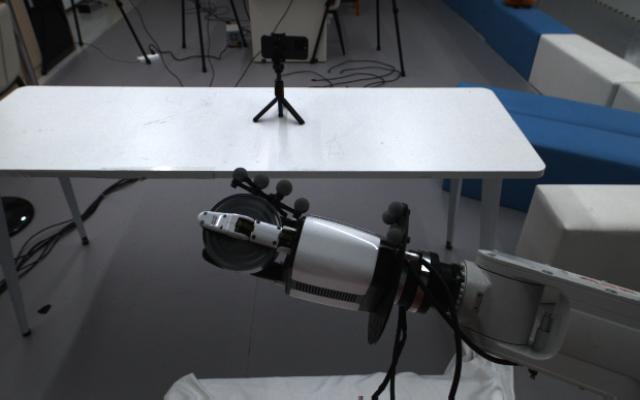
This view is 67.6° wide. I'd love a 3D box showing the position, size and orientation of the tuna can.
[{"bbox_3d":[-0.081,0.036,0.533,0.085,0.034,0.085,0,72,0],"label":"tuna can"}]
